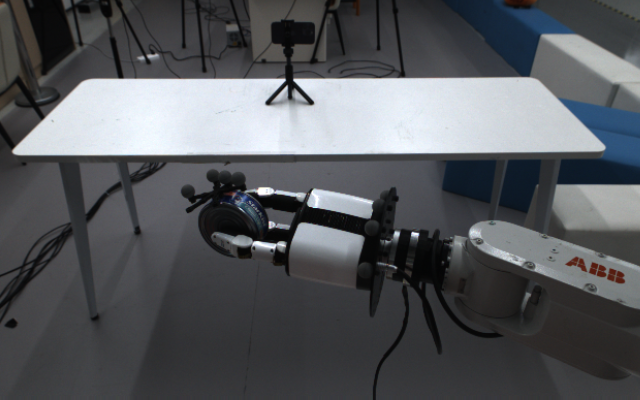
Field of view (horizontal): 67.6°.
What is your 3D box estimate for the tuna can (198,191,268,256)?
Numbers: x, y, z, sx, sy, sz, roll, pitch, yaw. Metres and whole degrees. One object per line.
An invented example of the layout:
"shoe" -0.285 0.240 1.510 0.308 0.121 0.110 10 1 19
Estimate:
"tuna can" -0.107 0.037 0.617 0.085 0.085 0.034 11 34 13
